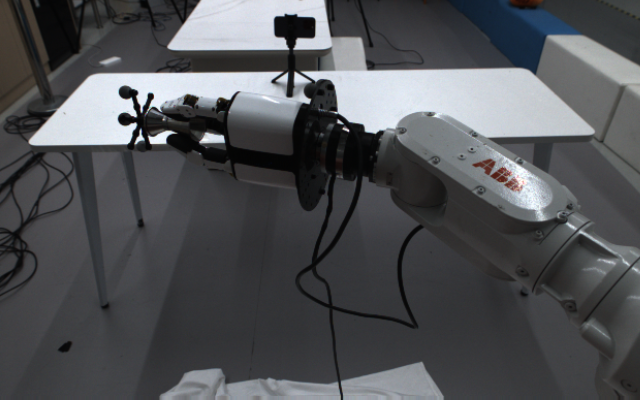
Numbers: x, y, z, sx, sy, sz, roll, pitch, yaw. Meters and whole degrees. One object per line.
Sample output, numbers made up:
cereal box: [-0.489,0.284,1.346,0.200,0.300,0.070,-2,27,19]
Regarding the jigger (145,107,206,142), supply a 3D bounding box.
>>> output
jigger: [-0.189,-0.105,0.645,0.071,0.043,0.043,6,35,13]
